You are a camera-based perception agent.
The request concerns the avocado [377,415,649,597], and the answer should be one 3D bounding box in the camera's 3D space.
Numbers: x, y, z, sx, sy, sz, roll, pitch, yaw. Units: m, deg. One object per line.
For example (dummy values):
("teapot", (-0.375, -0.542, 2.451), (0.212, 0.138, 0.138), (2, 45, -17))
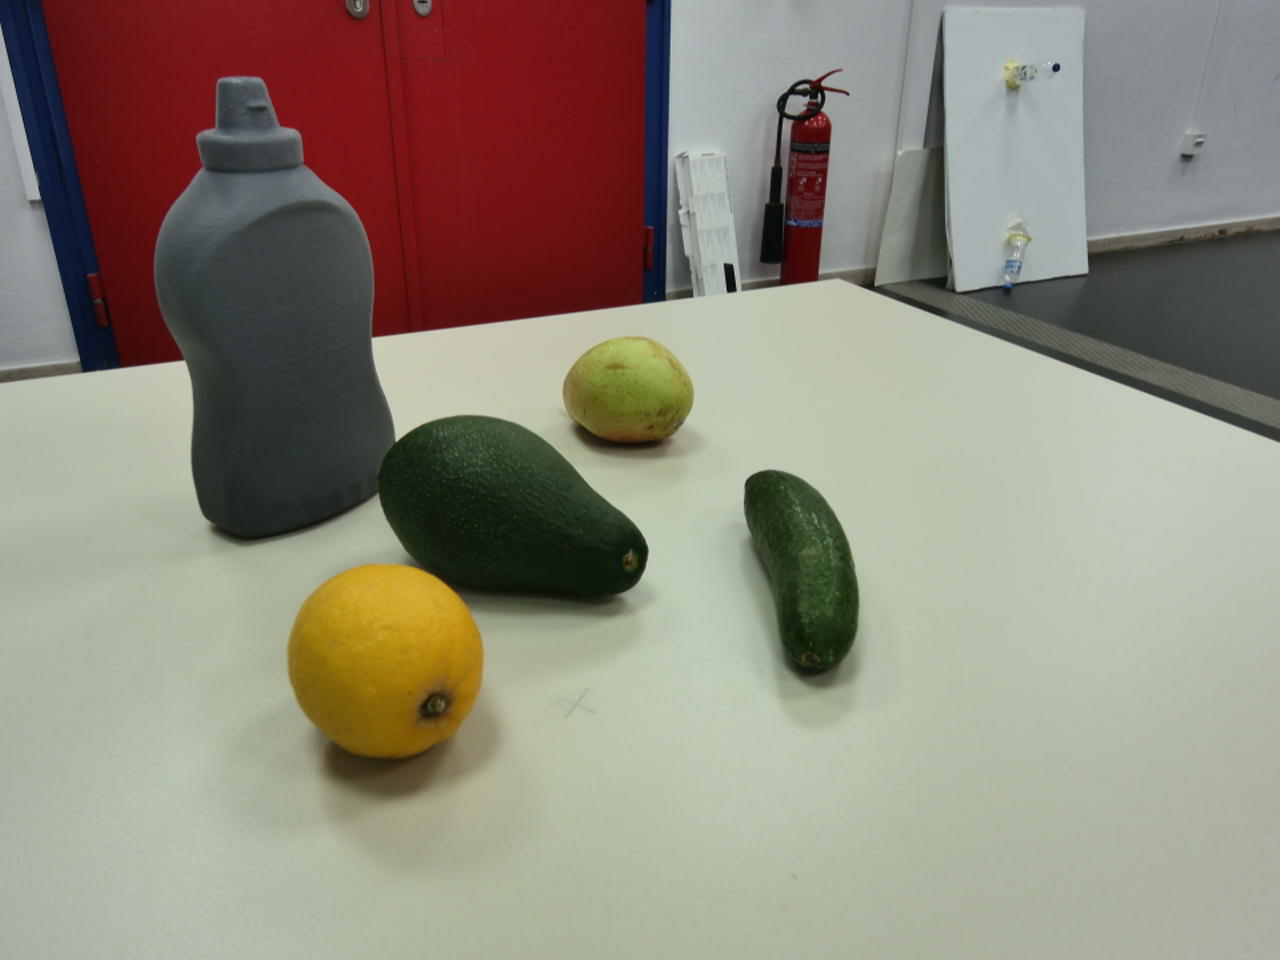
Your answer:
("avocado", (-0.055, 0.012, 0.411), (0.110, 0.071, 0.072), (19, 30, 37))
